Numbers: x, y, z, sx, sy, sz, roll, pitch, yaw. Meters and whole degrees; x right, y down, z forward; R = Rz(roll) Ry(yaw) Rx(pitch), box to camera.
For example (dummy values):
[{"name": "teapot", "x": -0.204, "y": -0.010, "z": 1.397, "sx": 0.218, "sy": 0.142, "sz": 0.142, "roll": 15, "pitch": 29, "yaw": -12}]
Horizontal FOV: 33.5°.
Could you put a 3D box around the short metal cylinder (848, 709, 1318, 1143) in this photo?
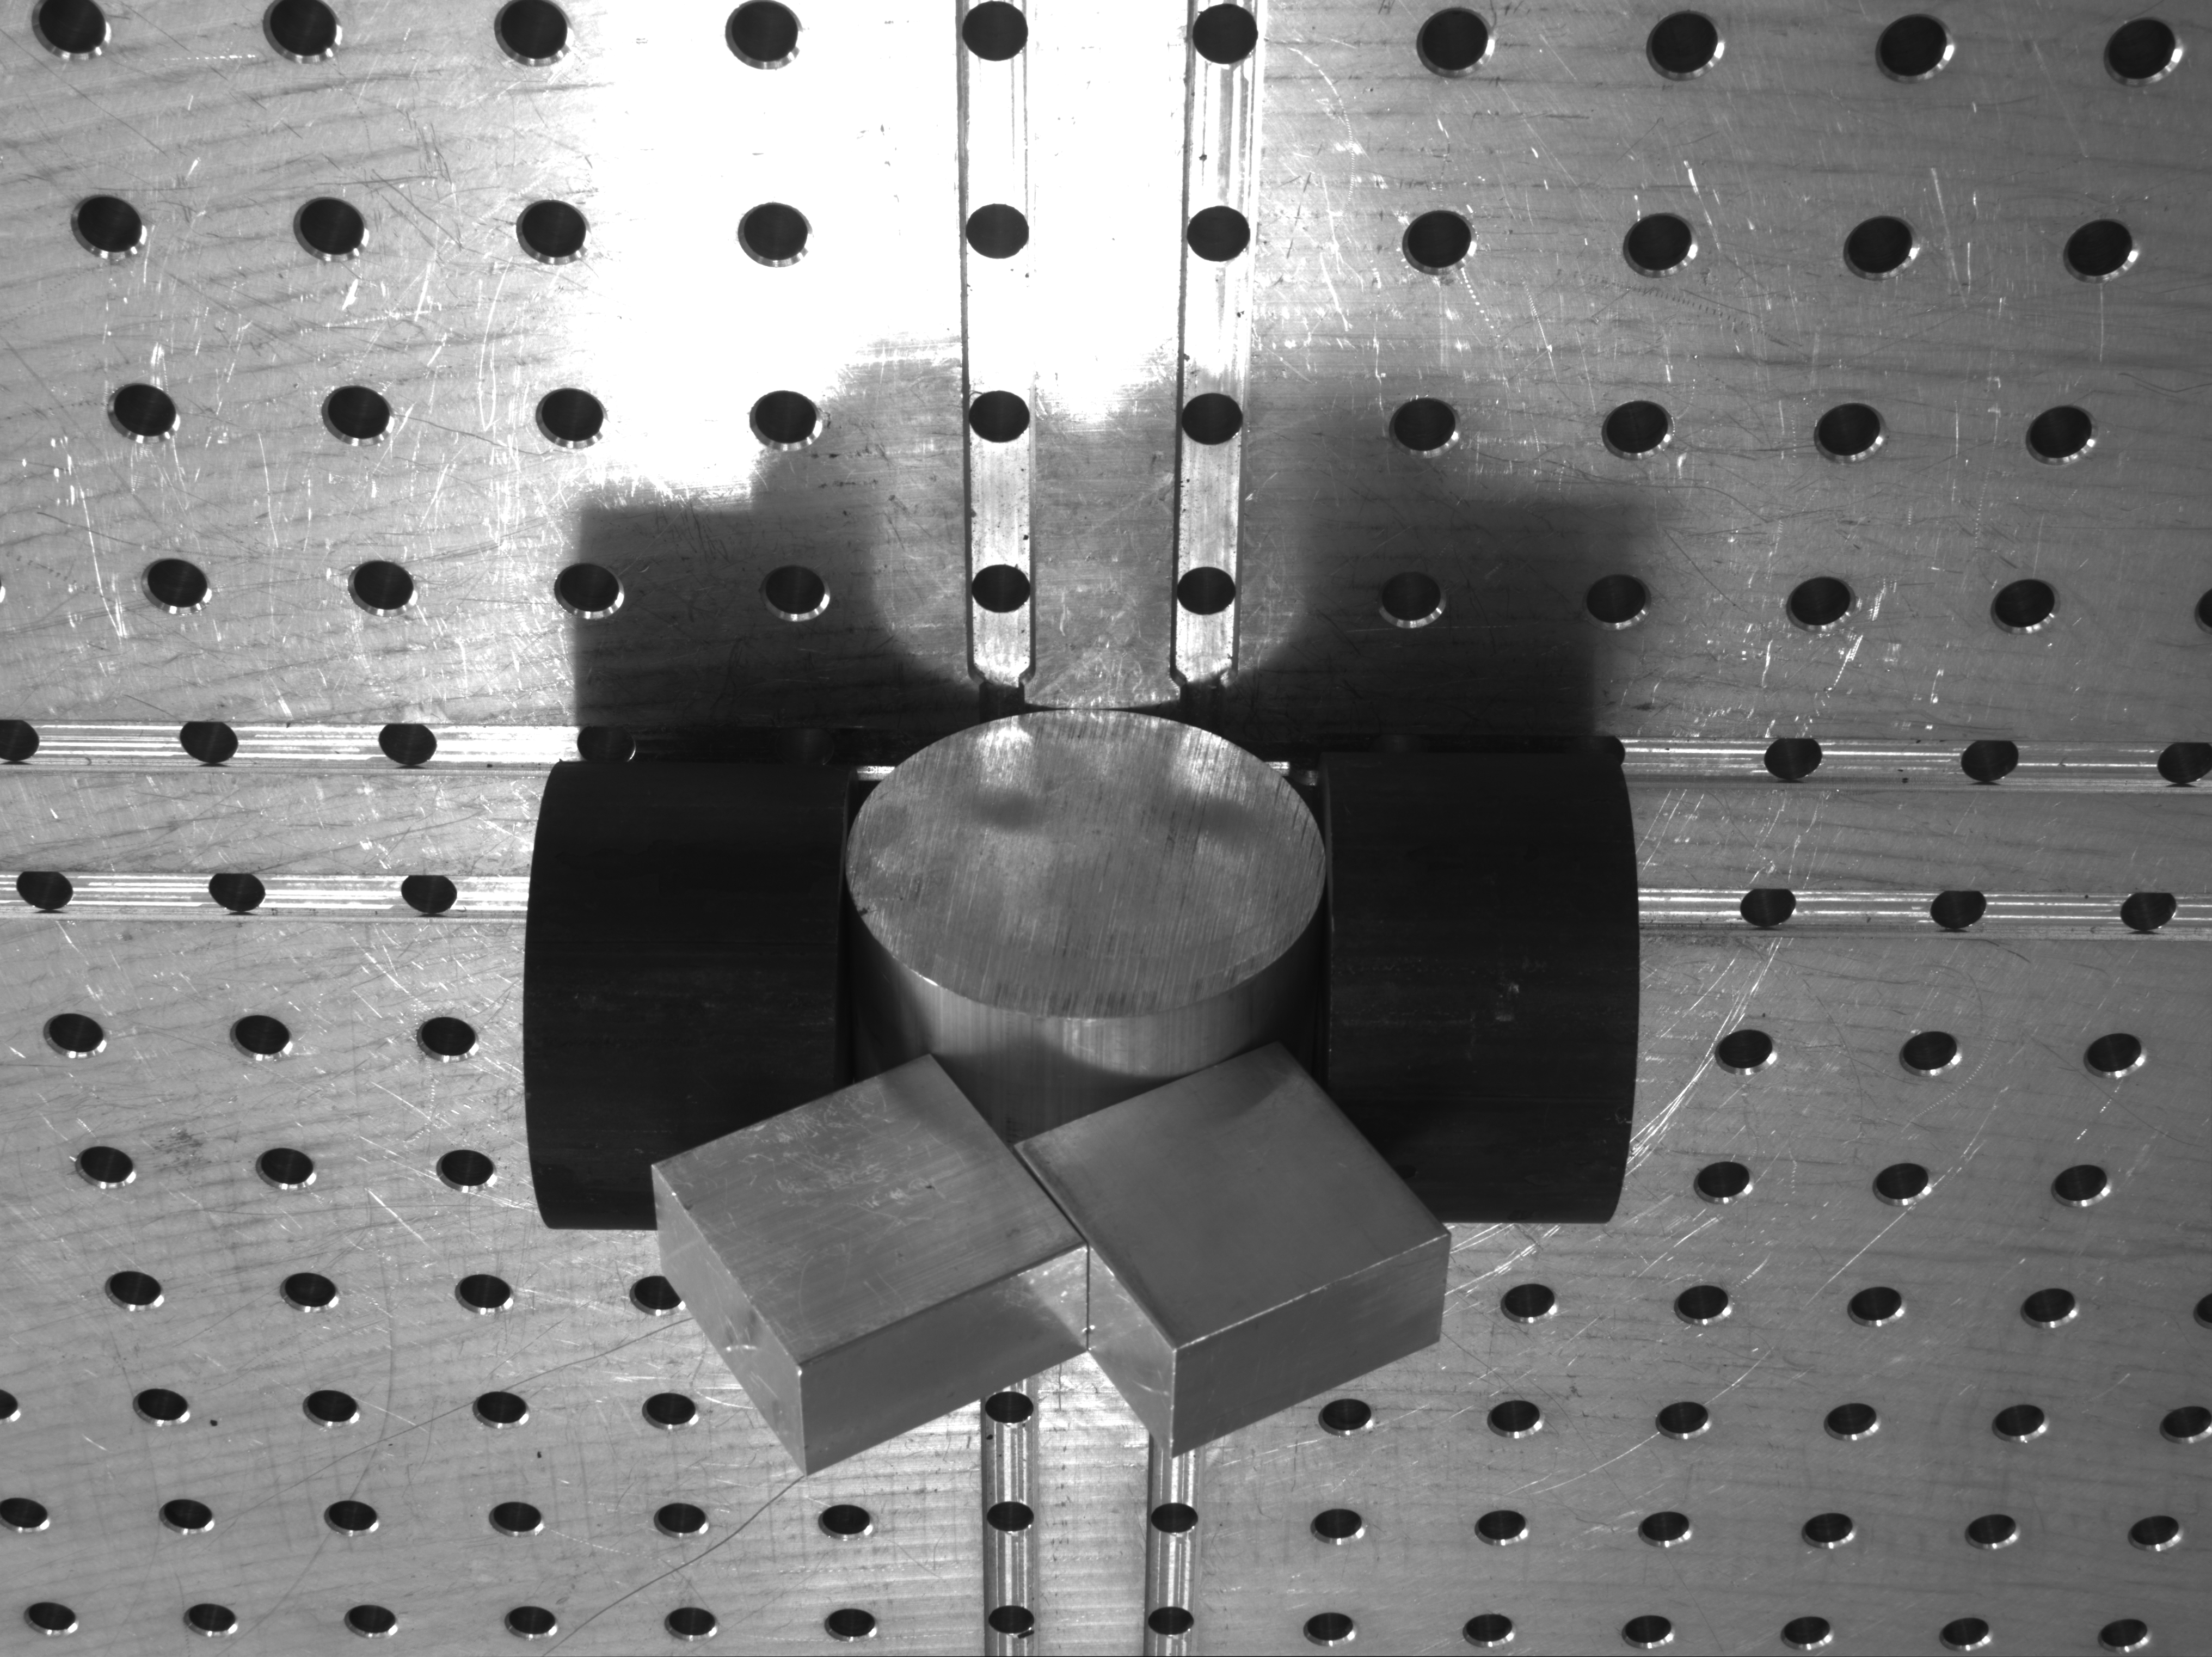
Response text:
[{"name": "short metal cylinder", "x": -0.004, "y": 0.024, "z": 0.627, "sx": 0.080, "sy": 0.080, "sz": 0.050, "roll": 1, "pitch": 130, "yaw": -1}]

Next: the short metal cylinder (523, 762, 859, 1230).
[{"name": "short metal cylinder", "x": -0.069, "y": 0.029, "z": 0.630, "sx": 0.050, "sy": 0.080, "sz": 0.080, "roll": 1, "pitch": 130, "yaw": 0}]

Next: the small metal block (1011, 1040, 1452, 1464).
[{"name": "small metal block", "x": 0.019, "y": 0.066, "z": 0.582, "sx": 0.050, "sy": 0.050, "sz": 0.025, "roll": -20, "pitch": 134, "yaw": -23}]

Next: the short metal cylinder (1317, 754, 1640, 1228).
[{"name": "short metal cylinder", "x": 0.061, "y": 0.028, "z": 0.629, "sx": 0.050, "sy": 0.080, "sz": 0.080, "roll": 1, "pitch": 130, "yaw": 0}]

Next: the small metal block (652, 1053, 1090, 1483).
[{"name": "small metal block", "x": -0.037, "y": 0.068, "z": 0.578, "sx": 0.050, "sy": 0.050, "sz": 0.025, "roll": -21, "pitch": 135, "yaw": -24}]
